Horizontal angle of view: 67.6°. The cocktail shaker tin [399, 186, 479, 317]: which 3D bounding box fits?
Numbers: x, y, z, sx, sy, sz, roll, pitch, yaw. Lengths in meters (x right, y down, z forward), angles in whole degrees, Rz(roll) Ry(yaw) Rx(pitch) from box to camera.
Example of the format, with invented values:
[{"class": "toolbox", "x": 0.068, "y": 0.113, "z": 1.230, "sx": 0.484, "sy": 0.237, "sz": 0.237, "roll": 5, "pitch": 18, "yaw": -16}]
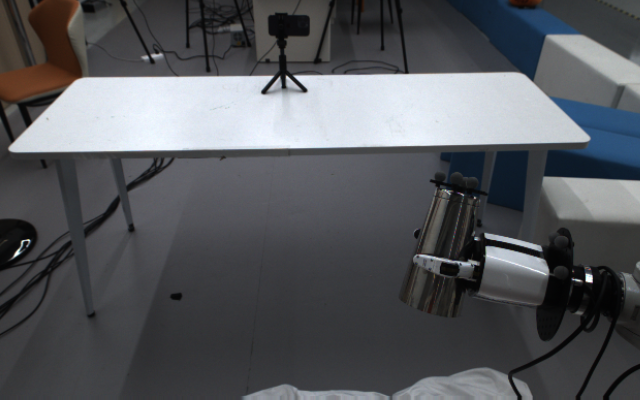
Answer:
[{"class": "cocktail shaker tin", "x": 0.181, "y": 0.072, "z": 0.706, "sx": 0.093, "sy": 0.170, "sz": 0.093, "roll": 13, "pitch": 5, "yaw": -1}]
